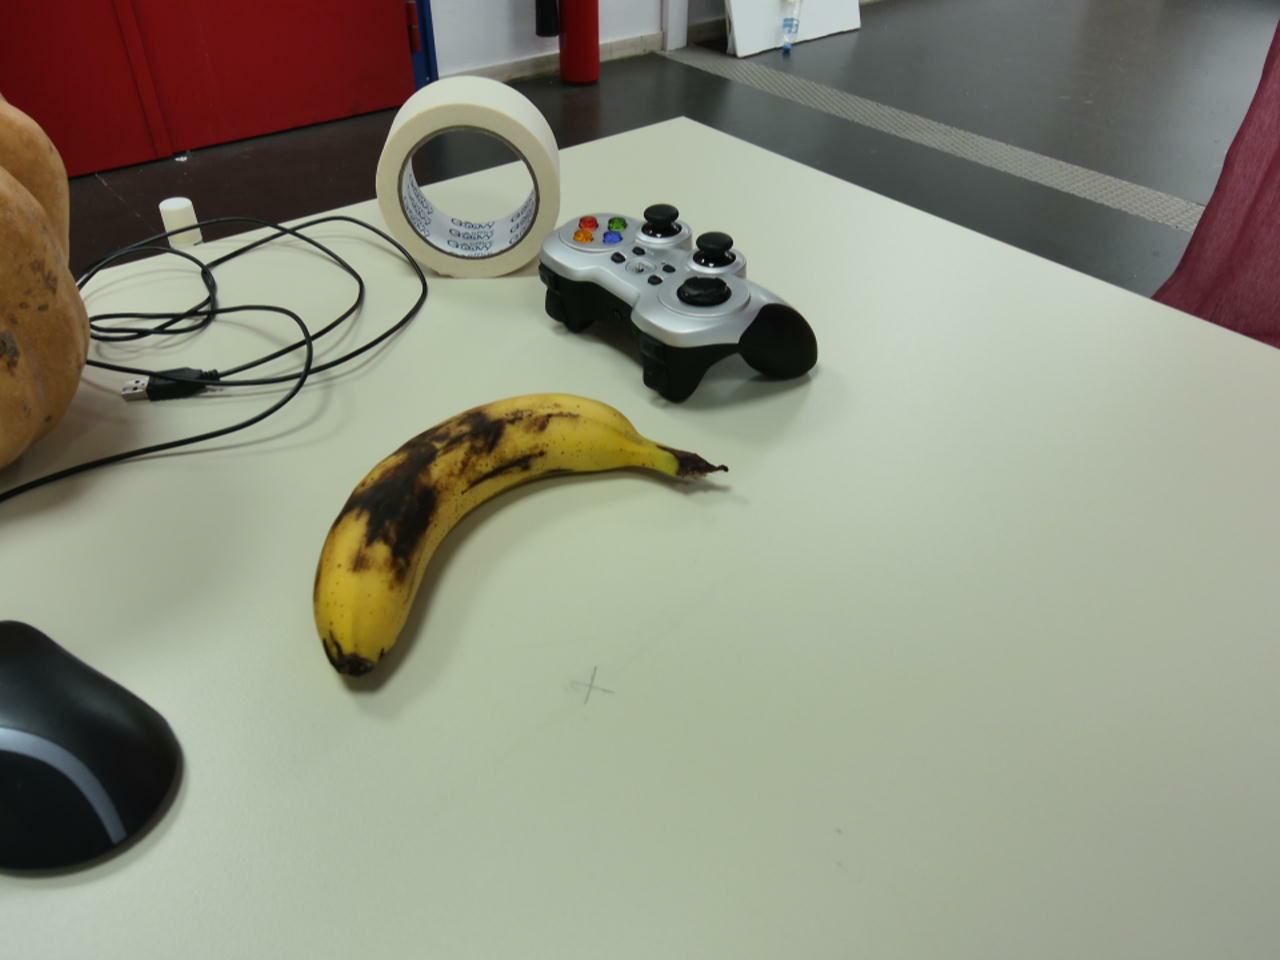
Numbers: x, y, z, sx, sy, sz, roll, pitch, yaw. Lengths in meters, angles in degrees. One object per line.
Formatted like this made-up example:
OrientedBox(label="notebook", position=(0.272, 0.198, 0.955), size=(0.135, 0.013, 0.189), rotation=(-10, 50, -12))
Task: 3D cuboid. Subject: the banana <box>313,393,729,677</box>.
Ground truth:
OrientedBox(label="banana", position=(-0.063, 0.006, 0.419), size=(0.187, 0.039, 0.094), rotation=(-28, 45, -33))
